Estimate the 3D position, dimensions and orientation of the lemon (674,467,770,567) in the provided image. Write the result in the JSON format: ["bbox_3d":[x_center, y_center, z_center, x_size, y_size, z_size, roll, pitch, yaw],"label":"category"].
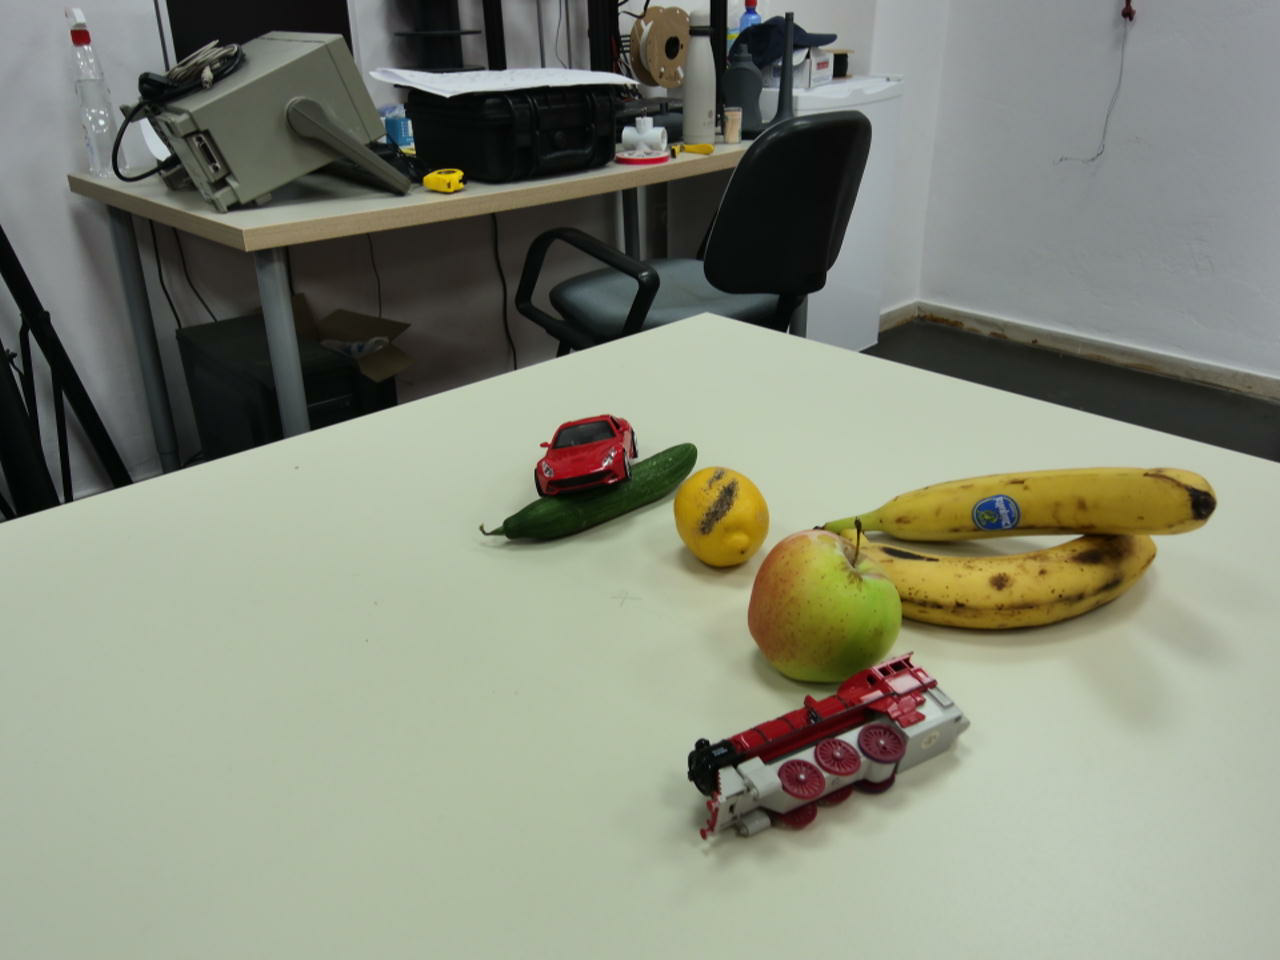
[{"bbox_3d":[0.050,0.022,0.603,0.061,0.056,0.058,19,30,36],"label":"lemon"}]
